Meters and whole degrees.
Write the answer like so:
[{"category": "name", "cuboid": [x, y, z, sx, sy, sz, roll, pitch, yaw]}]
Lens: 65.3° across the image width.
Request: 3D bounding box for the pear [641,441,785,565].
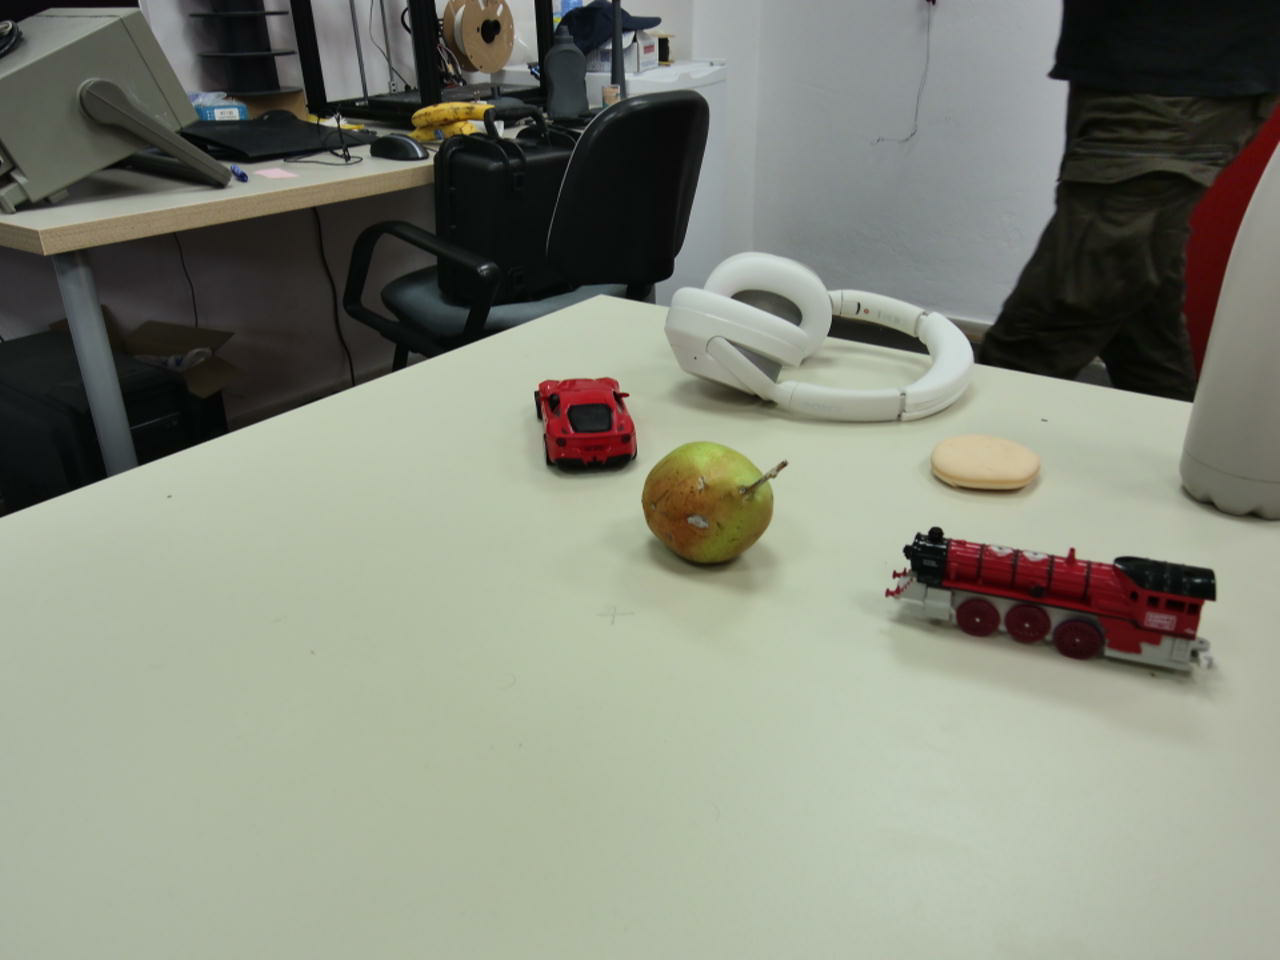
[{"category": "pear", "cuboid": [0.035, 0.010, 0.524, 0.068, 0.069, 0.070, -2, 24, -2]}]
